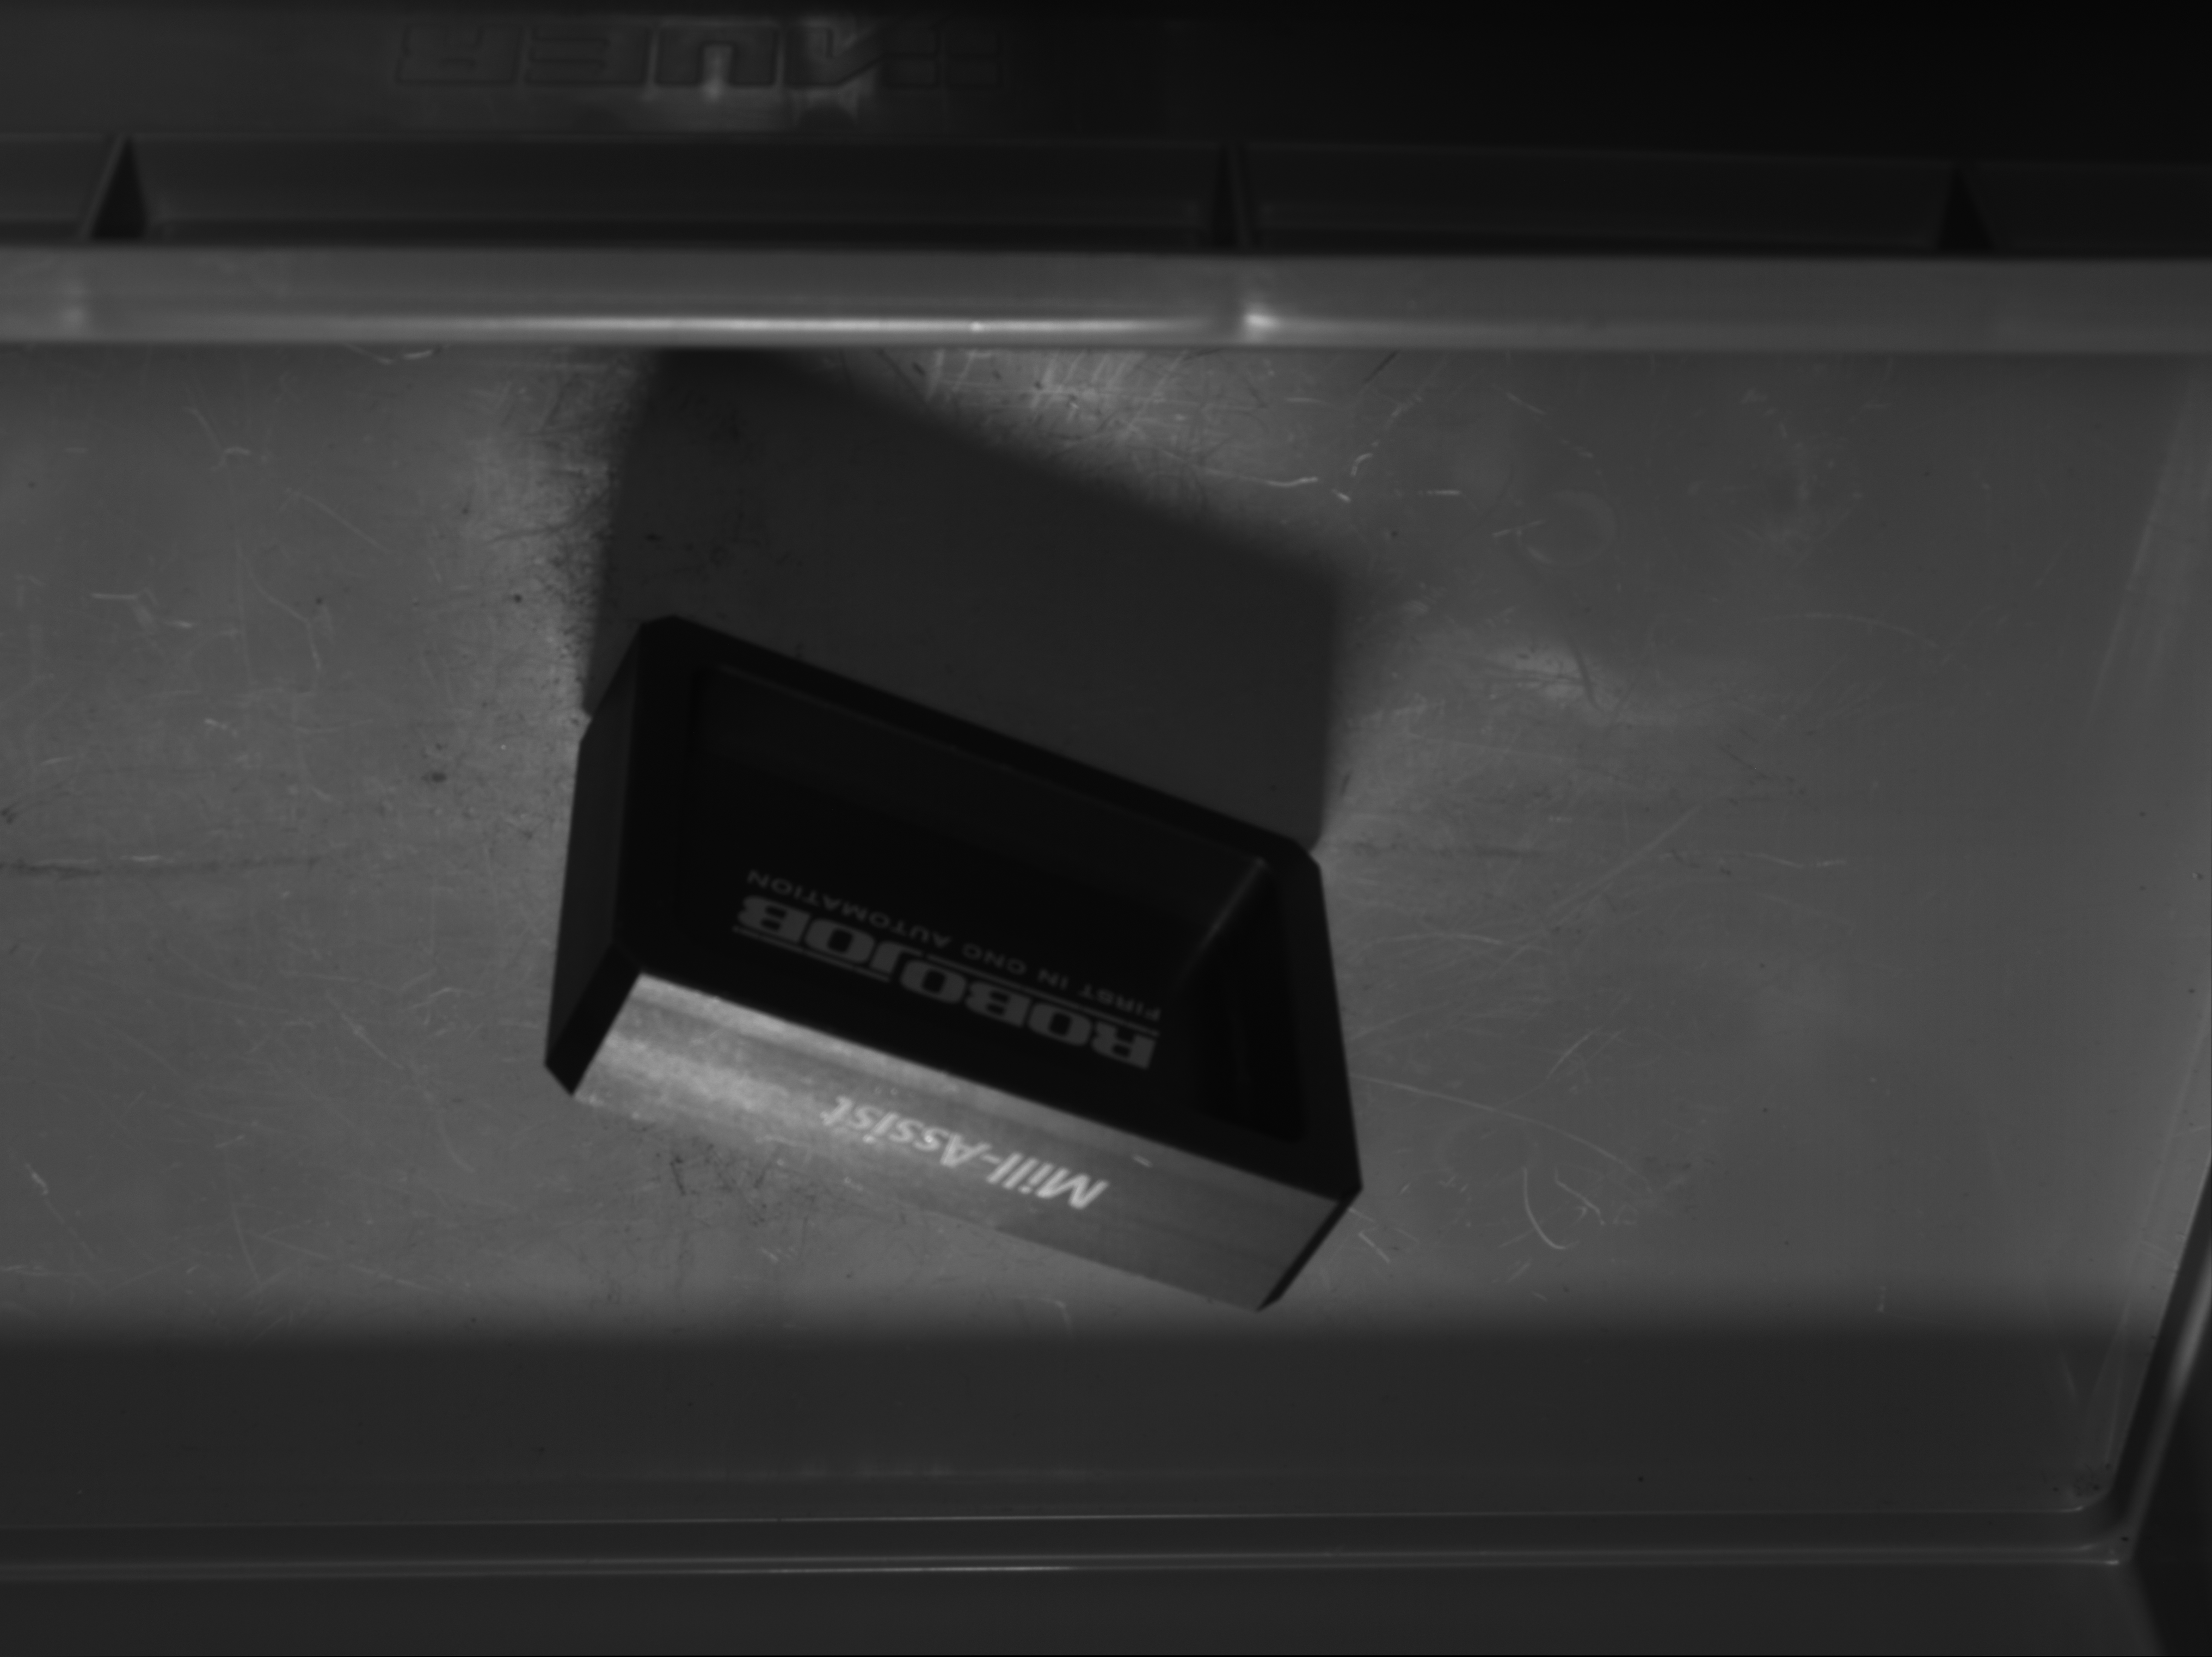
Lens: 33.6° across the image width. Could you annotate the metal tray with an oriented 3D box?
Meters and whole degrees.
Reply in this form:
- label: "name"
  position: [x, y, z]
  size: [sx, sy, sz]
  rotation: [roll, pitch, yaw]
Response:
- label: "metal tray"
  position: [-0.016, 0.023, 0.611]
  size: [0.130, 0.090, 0.030]
  rotation: [20, 127, -18]
